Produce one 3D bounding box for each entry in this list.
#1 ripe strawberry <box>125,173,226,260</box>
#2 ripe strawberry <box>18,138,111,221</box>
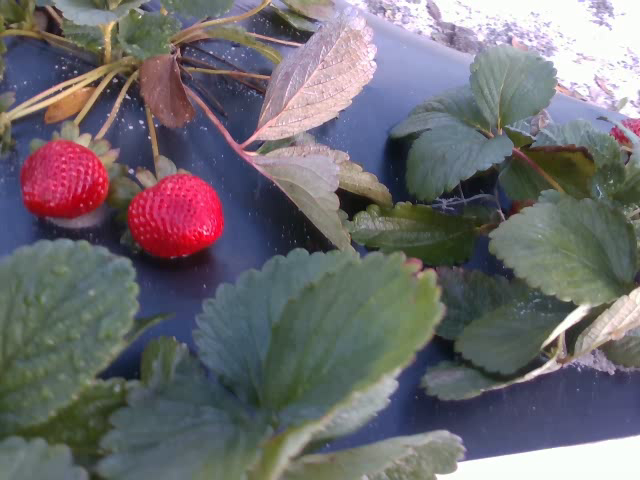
[{"bbox_3d":[-0.073,-0.014,0.320,0.057,0.051,0.064,-21,33,-26],"label":"ripe strawberry"},{"bbox_3d":[-0.134,-0.028,0.321,0.049,0.041,0.056,10,33,-8],"label":"ripe strawberry"}]
